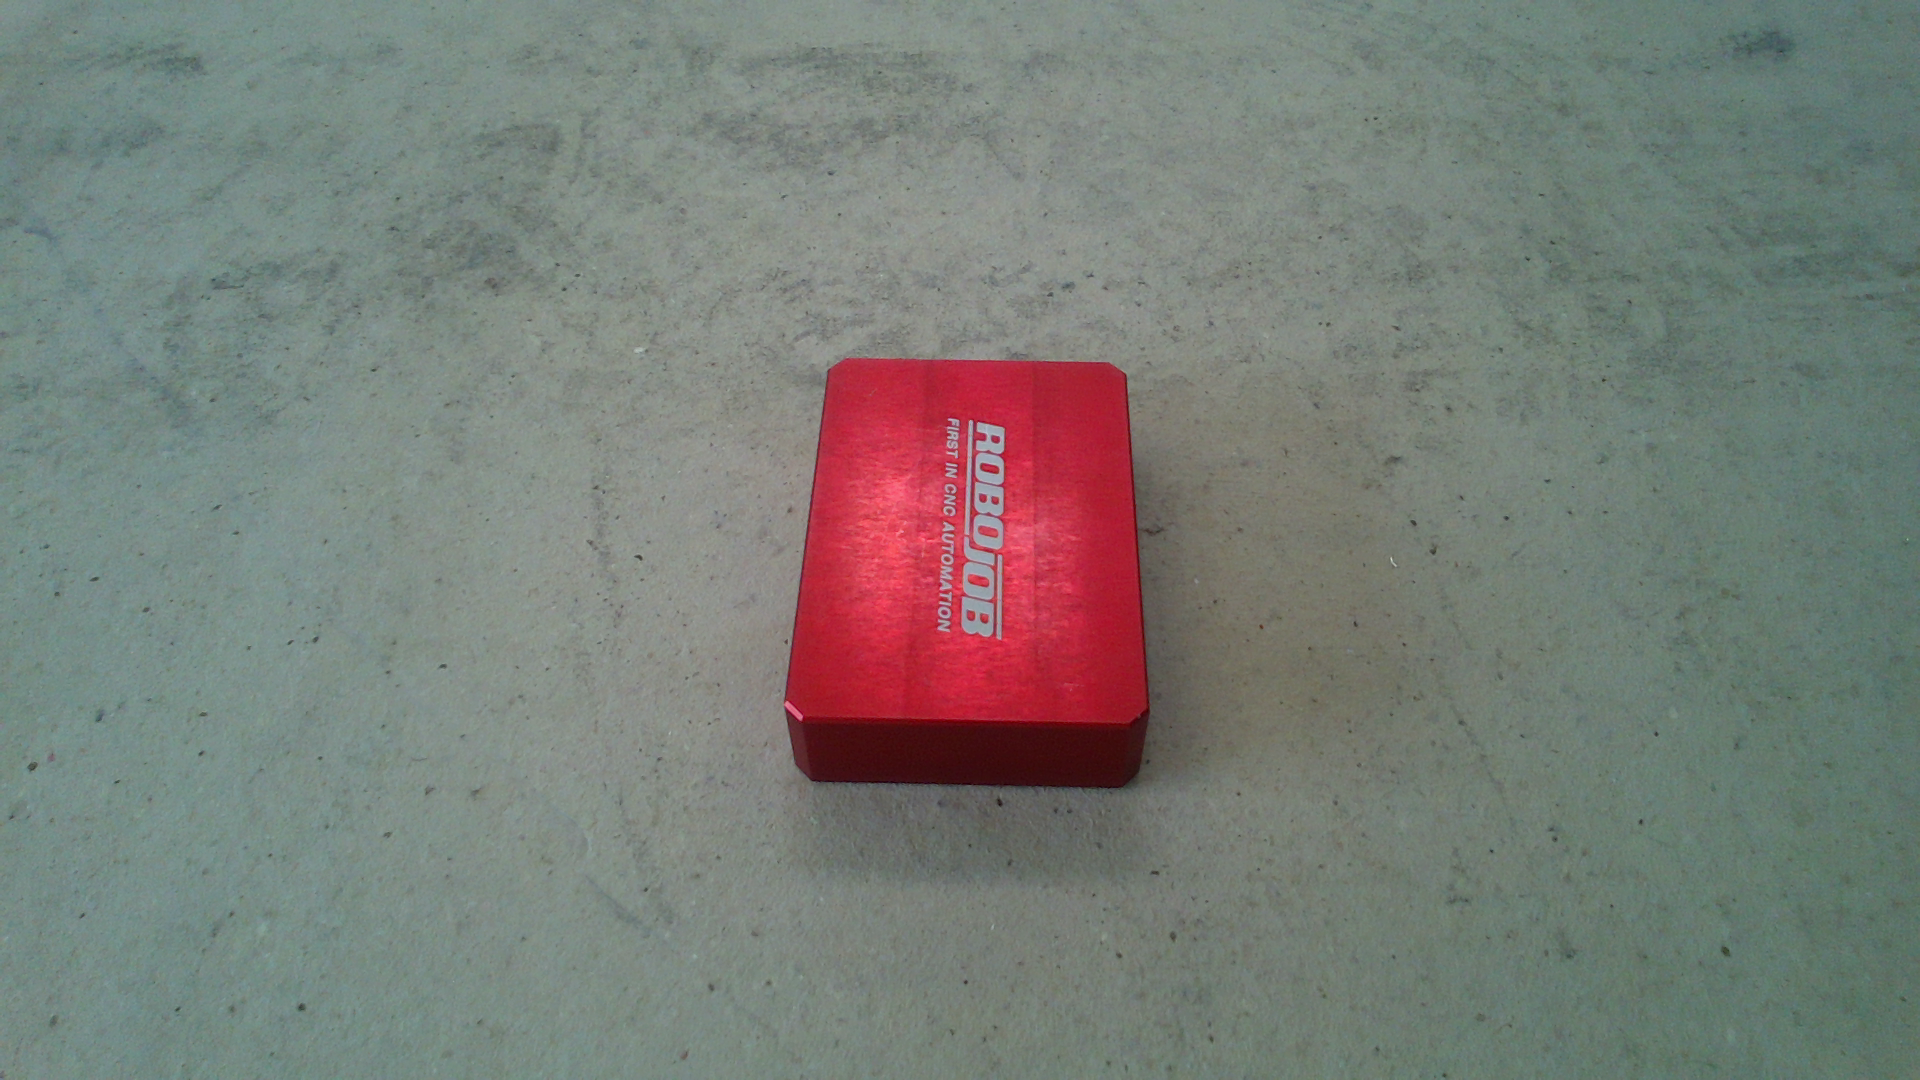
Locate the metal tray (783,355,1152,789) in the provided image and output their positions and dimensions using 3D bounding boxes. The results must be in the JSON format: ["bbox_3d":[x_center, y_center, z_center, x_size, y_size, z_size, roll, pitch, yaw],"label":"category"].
[{"bbox_3d":[0.003,0.004,0.384,0.090,0.030,0.130,1,50,0],"label":"metal tray"}]
